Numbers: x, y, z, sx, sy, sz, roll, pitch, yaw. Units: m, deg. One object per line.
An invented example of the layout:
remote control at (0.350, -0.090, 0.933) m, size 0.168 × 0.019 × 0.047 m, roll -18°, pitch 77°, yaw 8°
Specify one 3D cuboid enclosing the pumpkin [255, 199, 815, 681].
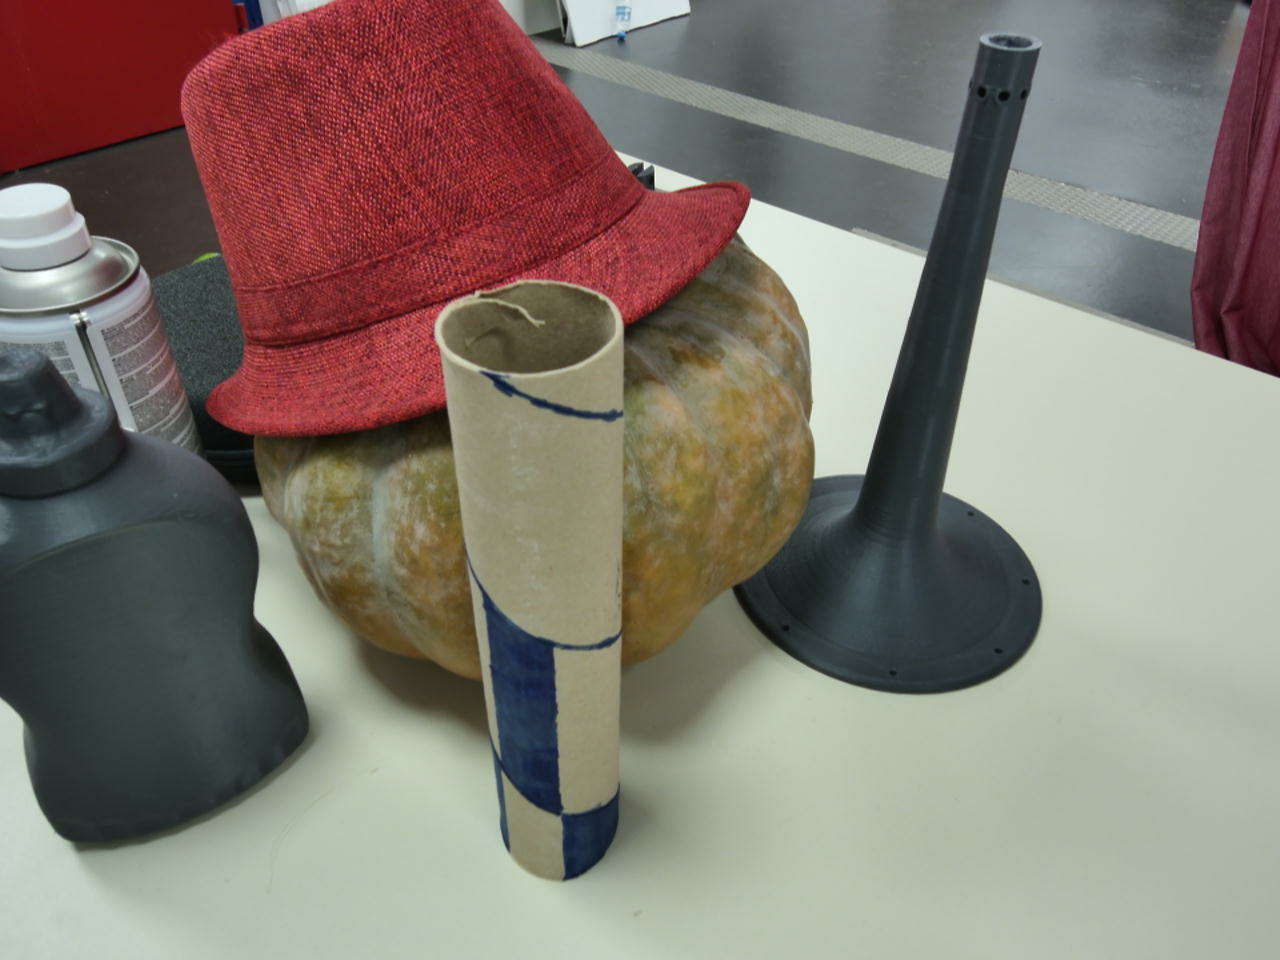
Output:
pumpkin at (-0.044, -0.025, 0.449) m, size 0.252 × 0.169 × 0.251 m, roll 0°, pitch 37°, yaw 0°
